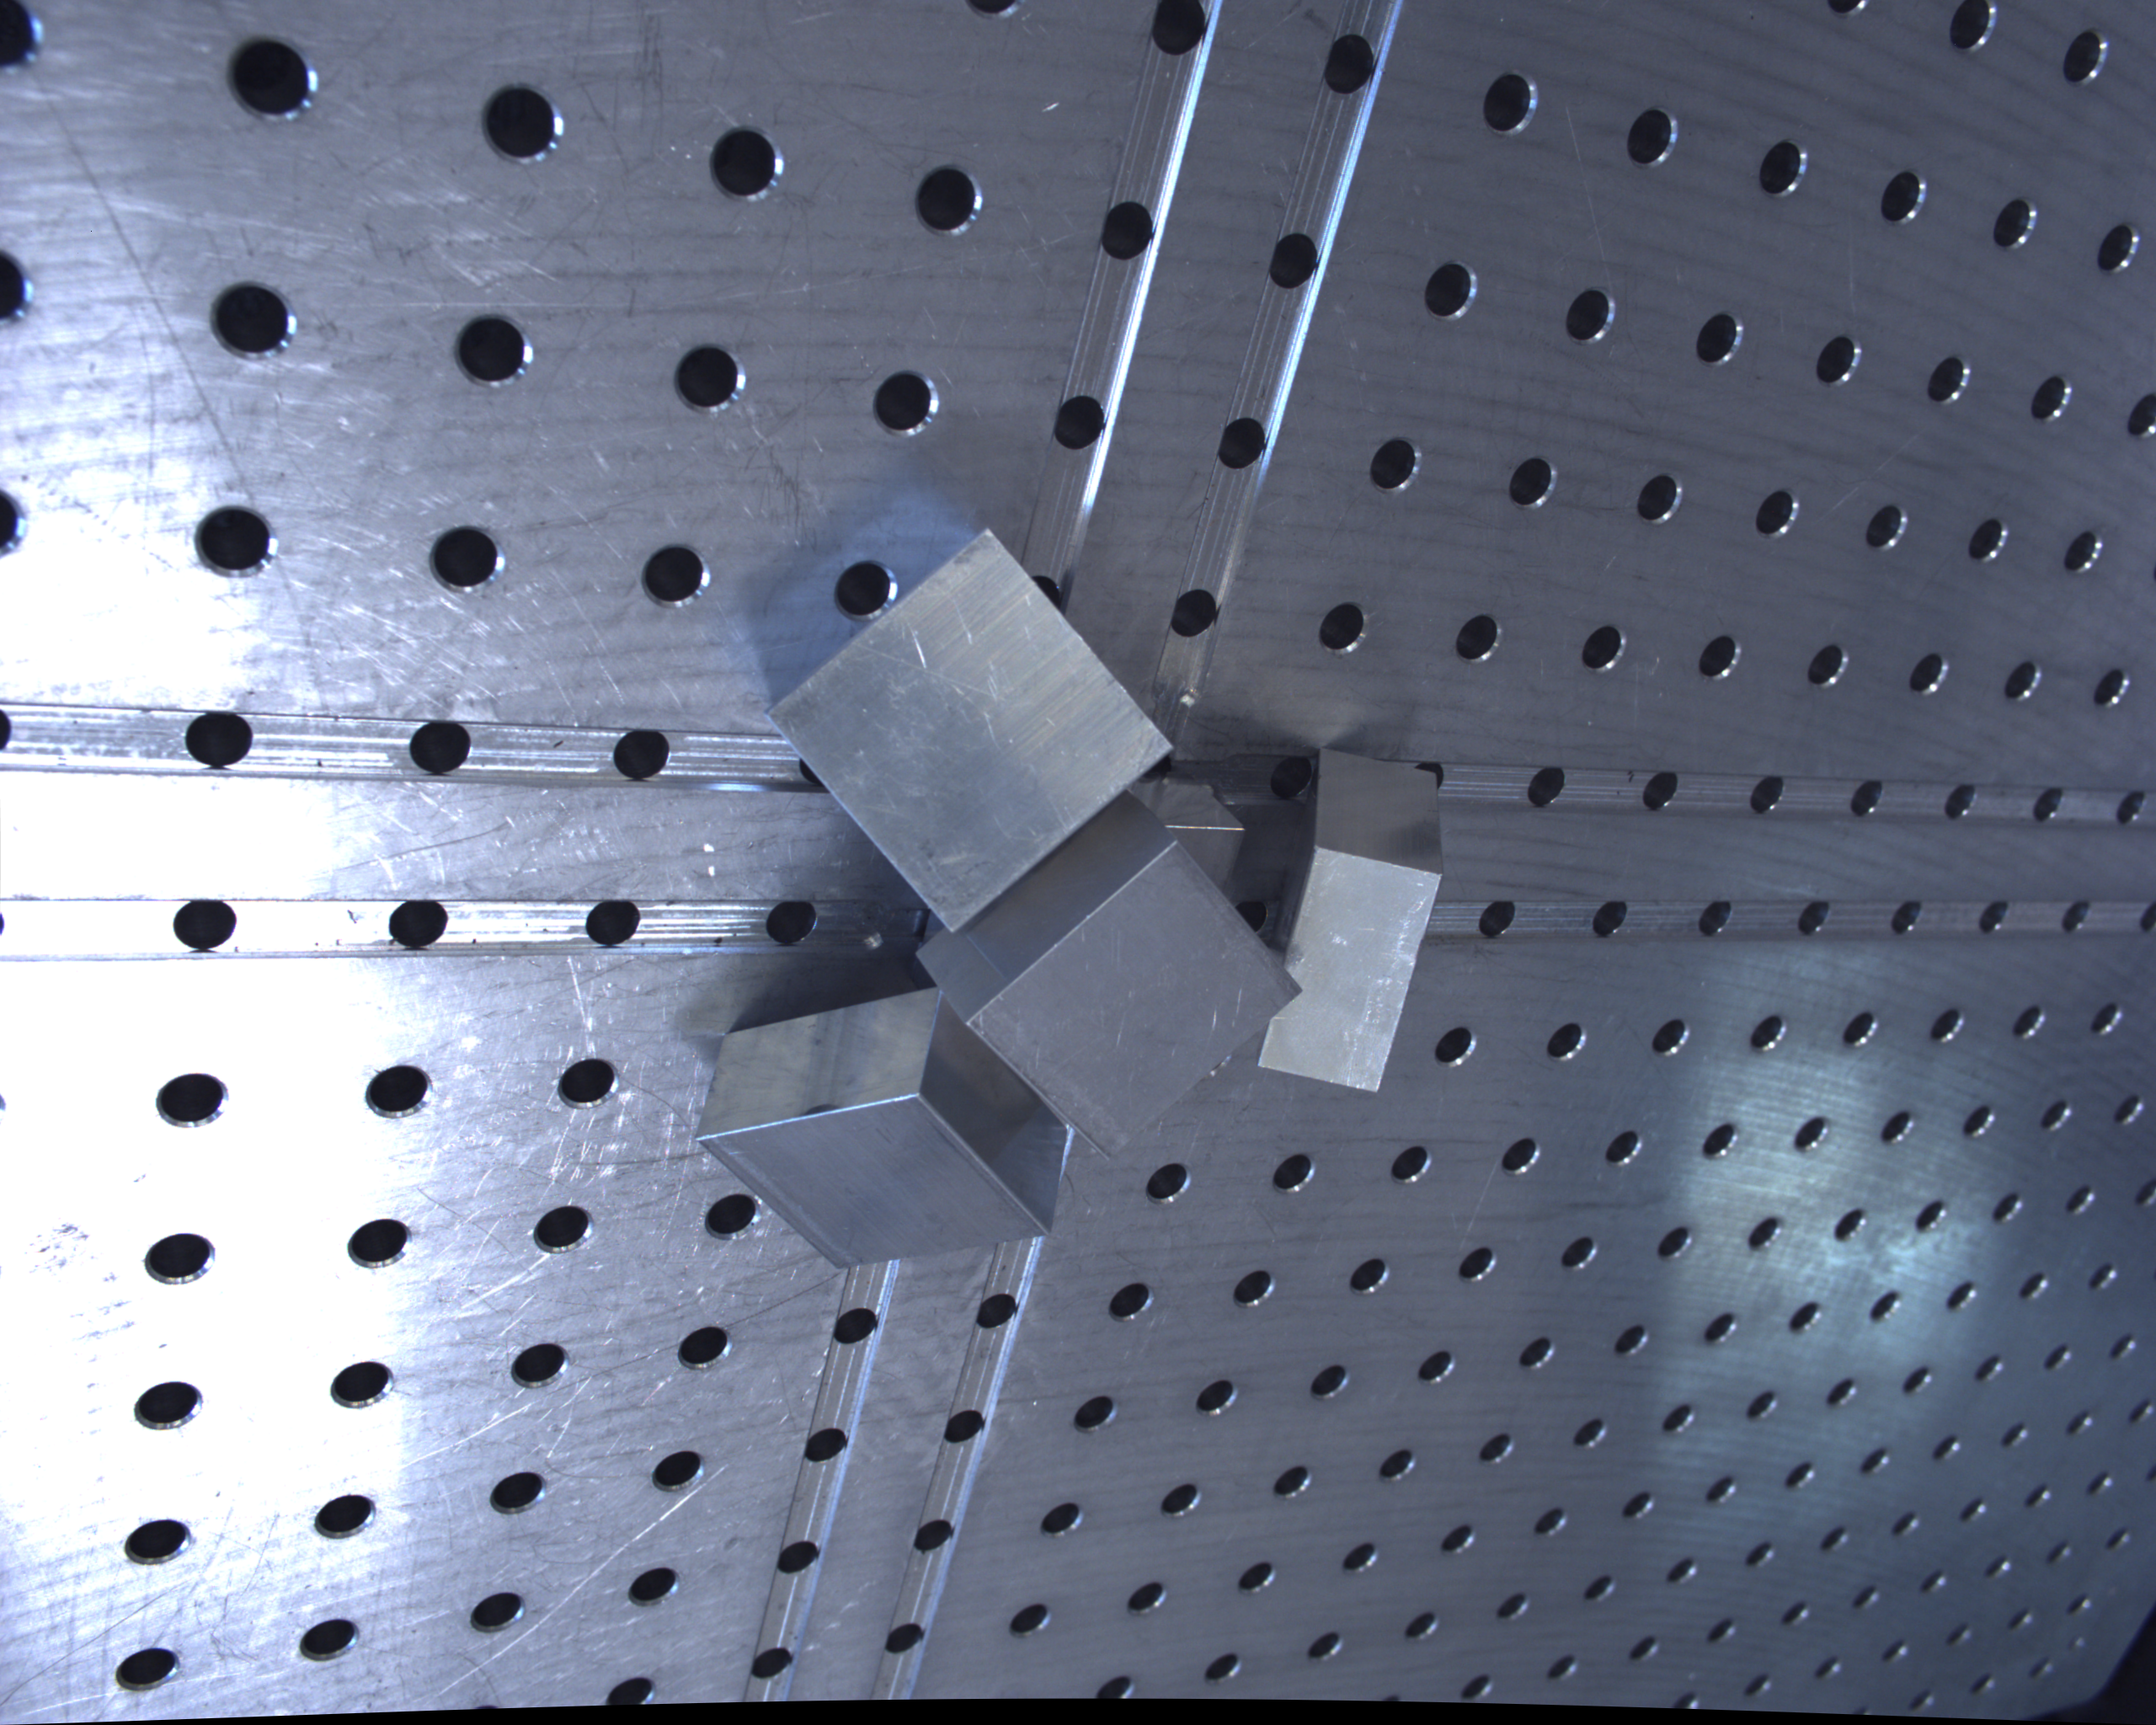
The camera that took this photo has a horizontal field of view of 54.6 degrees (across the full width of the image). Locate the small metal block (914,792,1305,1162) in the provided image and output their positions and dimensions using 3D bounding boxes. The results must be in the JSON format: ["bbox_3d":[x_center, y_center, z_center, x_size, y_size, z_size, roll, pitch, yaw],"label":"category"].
[{"bbox_3d":[0.007,0.021,0.394,0.050,0.025,0.050,-42,130,0],"label":"small metal block"}]

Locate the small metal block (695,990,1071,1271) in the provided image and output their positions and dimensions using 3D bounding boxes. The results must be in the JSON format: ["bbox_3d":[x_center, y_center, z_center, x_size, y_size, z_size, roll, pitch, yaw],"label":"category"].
[{"bbox_3d":[-0.037,0.053,0.407,0.050,0.025,0.050,-14,135,26],"label":"small metal block"}]

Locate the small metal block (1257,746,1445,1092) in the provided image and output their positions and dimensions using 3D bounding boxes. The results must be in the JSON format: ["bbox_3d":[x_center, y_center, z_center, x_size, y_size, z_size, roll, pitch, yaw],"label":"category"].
[{"bbox_3d":[0.056,0.011,0.428,0.025,0.050,0.050,13,116,2],"label":"small metal block"}]

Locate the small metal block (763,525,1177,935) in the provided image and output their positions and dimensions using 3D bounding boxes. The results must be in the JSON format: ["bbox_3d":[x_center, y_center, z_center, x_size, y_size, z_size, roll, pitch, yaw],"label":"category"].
[{"bbox_3d":[-0.019,-0.023,0.370,0.050,0.025,0.050,-40,94,-1],"label":"small metal block"}]

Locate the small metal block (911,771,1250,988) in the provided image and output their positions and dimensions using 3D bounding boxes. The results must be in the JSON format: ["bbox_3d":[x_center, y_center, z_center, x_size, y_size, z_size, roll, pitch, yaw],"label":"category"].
[{"bbox_3d":[0.000,0.009,0.416,0.050,0.025,0.050,1,120,-29],"label":"small metal block"}]
